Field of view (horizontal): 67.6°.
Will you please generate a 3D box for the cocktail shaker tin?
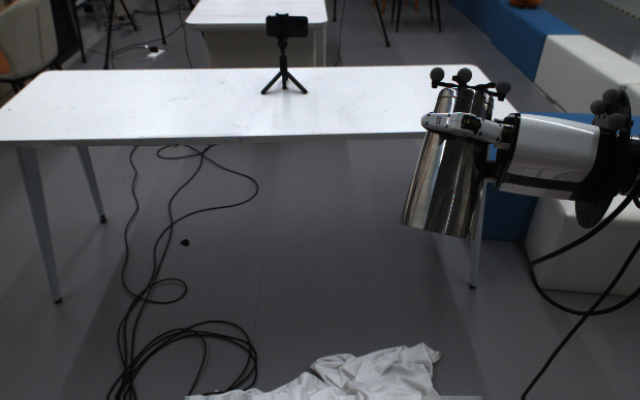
[{"bbox_3d":[0.164,-0.047,0.591,0.093,0.170,0.093,13,1,0],"label":"cocktail shaker tin"}]
